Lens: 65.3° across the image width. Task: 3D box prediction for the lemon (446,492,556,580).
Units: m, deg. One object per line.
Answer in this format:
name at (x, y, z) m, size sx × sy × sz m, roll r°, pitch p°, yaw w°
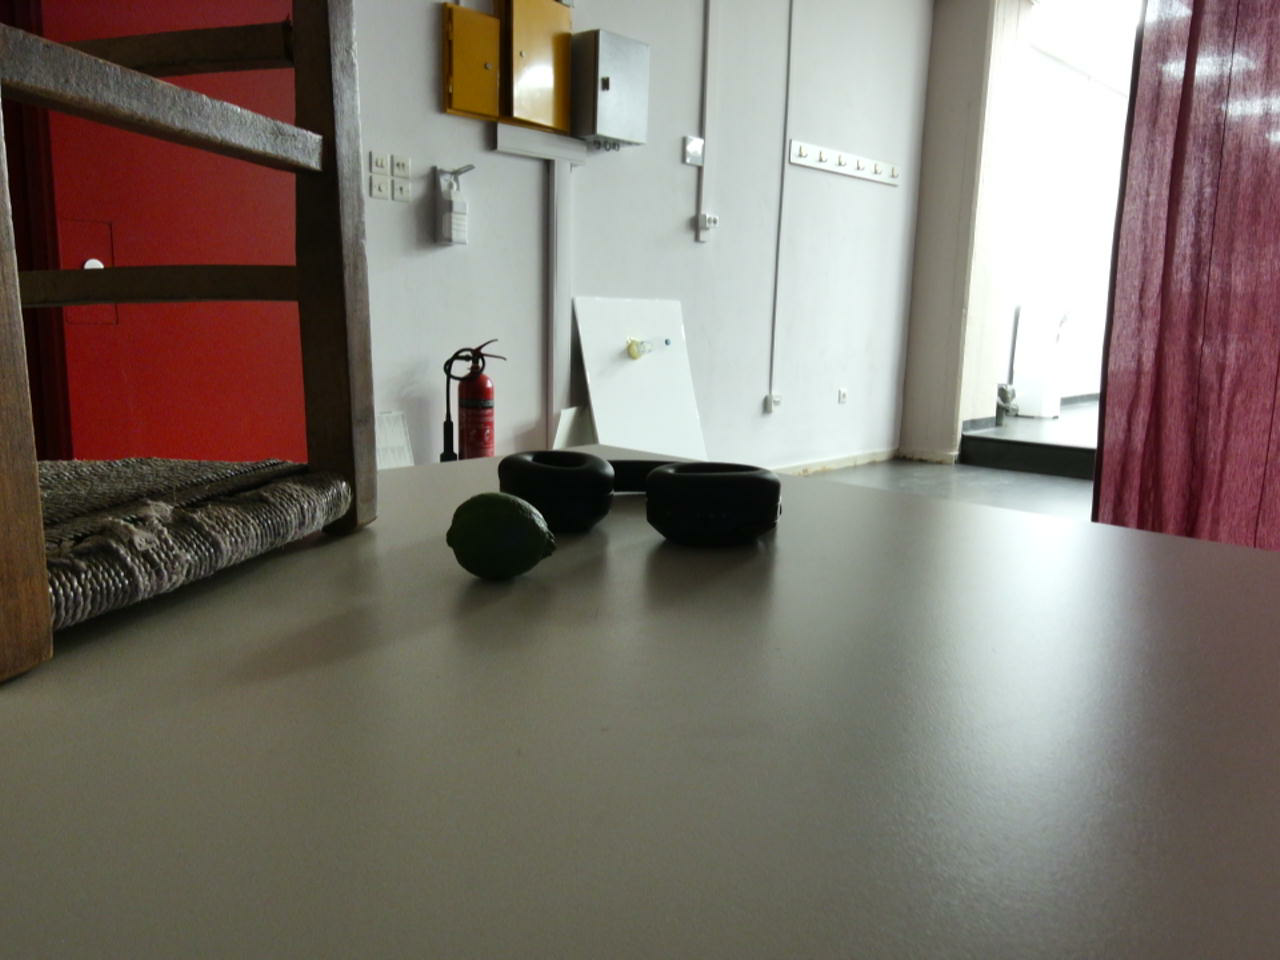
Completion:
lemon at (-0.084, 0.032, 0.586) m, size 0.054 × 0.051 × 0.057 m, roll 7°, pitch 10°, yaw 38°
